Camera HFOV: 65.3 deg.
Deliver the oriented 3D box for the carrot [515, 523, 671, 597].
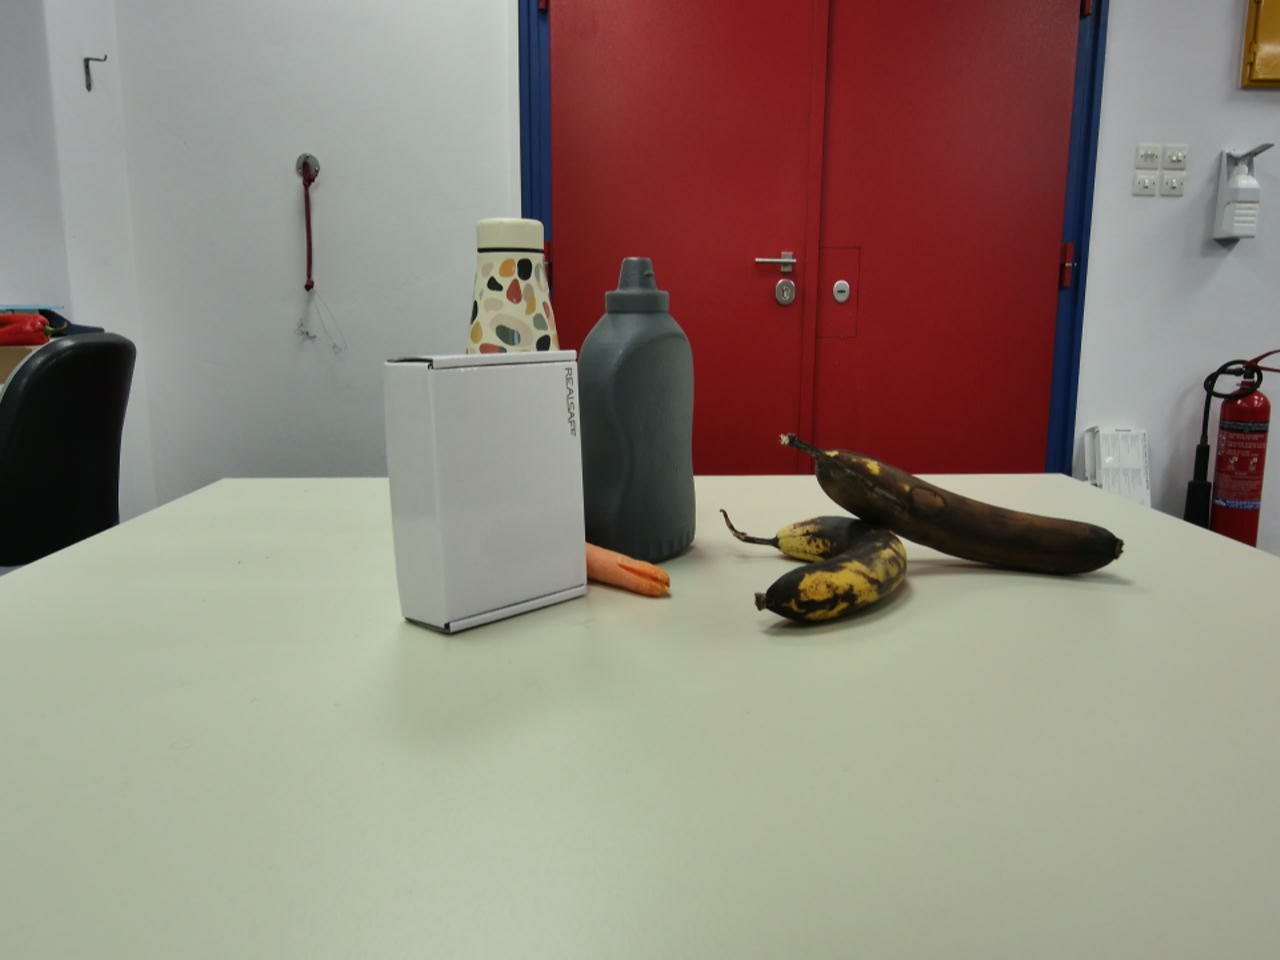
[{"bbox_3d":[-0.034,0.049,0.646,0.136,0.032,0.030,9,11,44],"label":"carrot"}]
